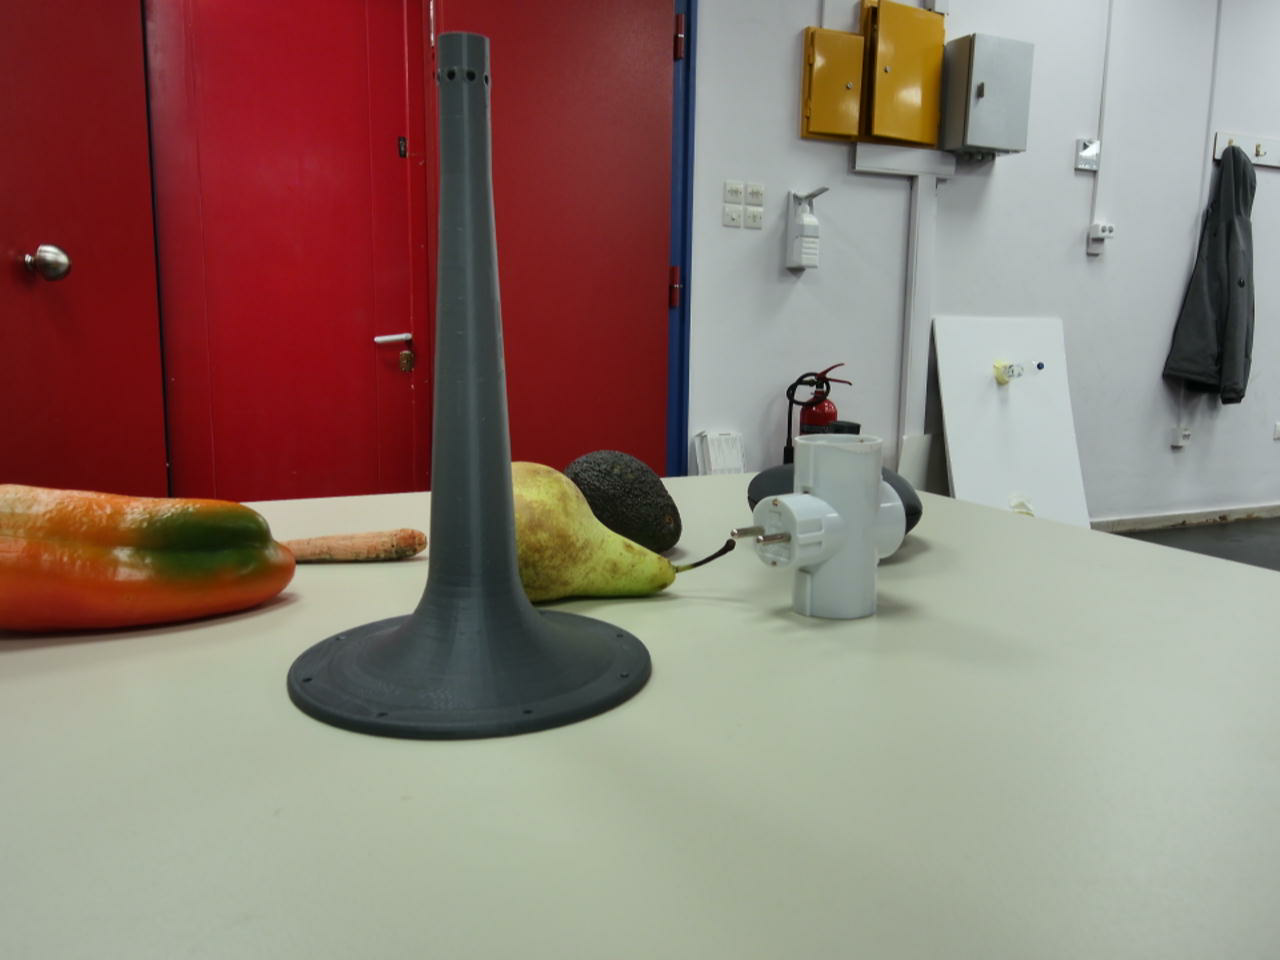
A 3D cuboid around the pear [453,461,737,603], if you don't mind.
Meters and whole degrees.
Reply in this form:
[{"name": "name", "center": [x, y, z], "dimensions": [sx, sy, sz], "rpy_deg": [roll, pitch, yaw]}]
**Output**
[{"name": "pear", "center": [-0.029, 0.027, 0.544], "dimensions": [0.144, 0.075, 0.071], "rpy_deg": [-3, 7, -17]}]
